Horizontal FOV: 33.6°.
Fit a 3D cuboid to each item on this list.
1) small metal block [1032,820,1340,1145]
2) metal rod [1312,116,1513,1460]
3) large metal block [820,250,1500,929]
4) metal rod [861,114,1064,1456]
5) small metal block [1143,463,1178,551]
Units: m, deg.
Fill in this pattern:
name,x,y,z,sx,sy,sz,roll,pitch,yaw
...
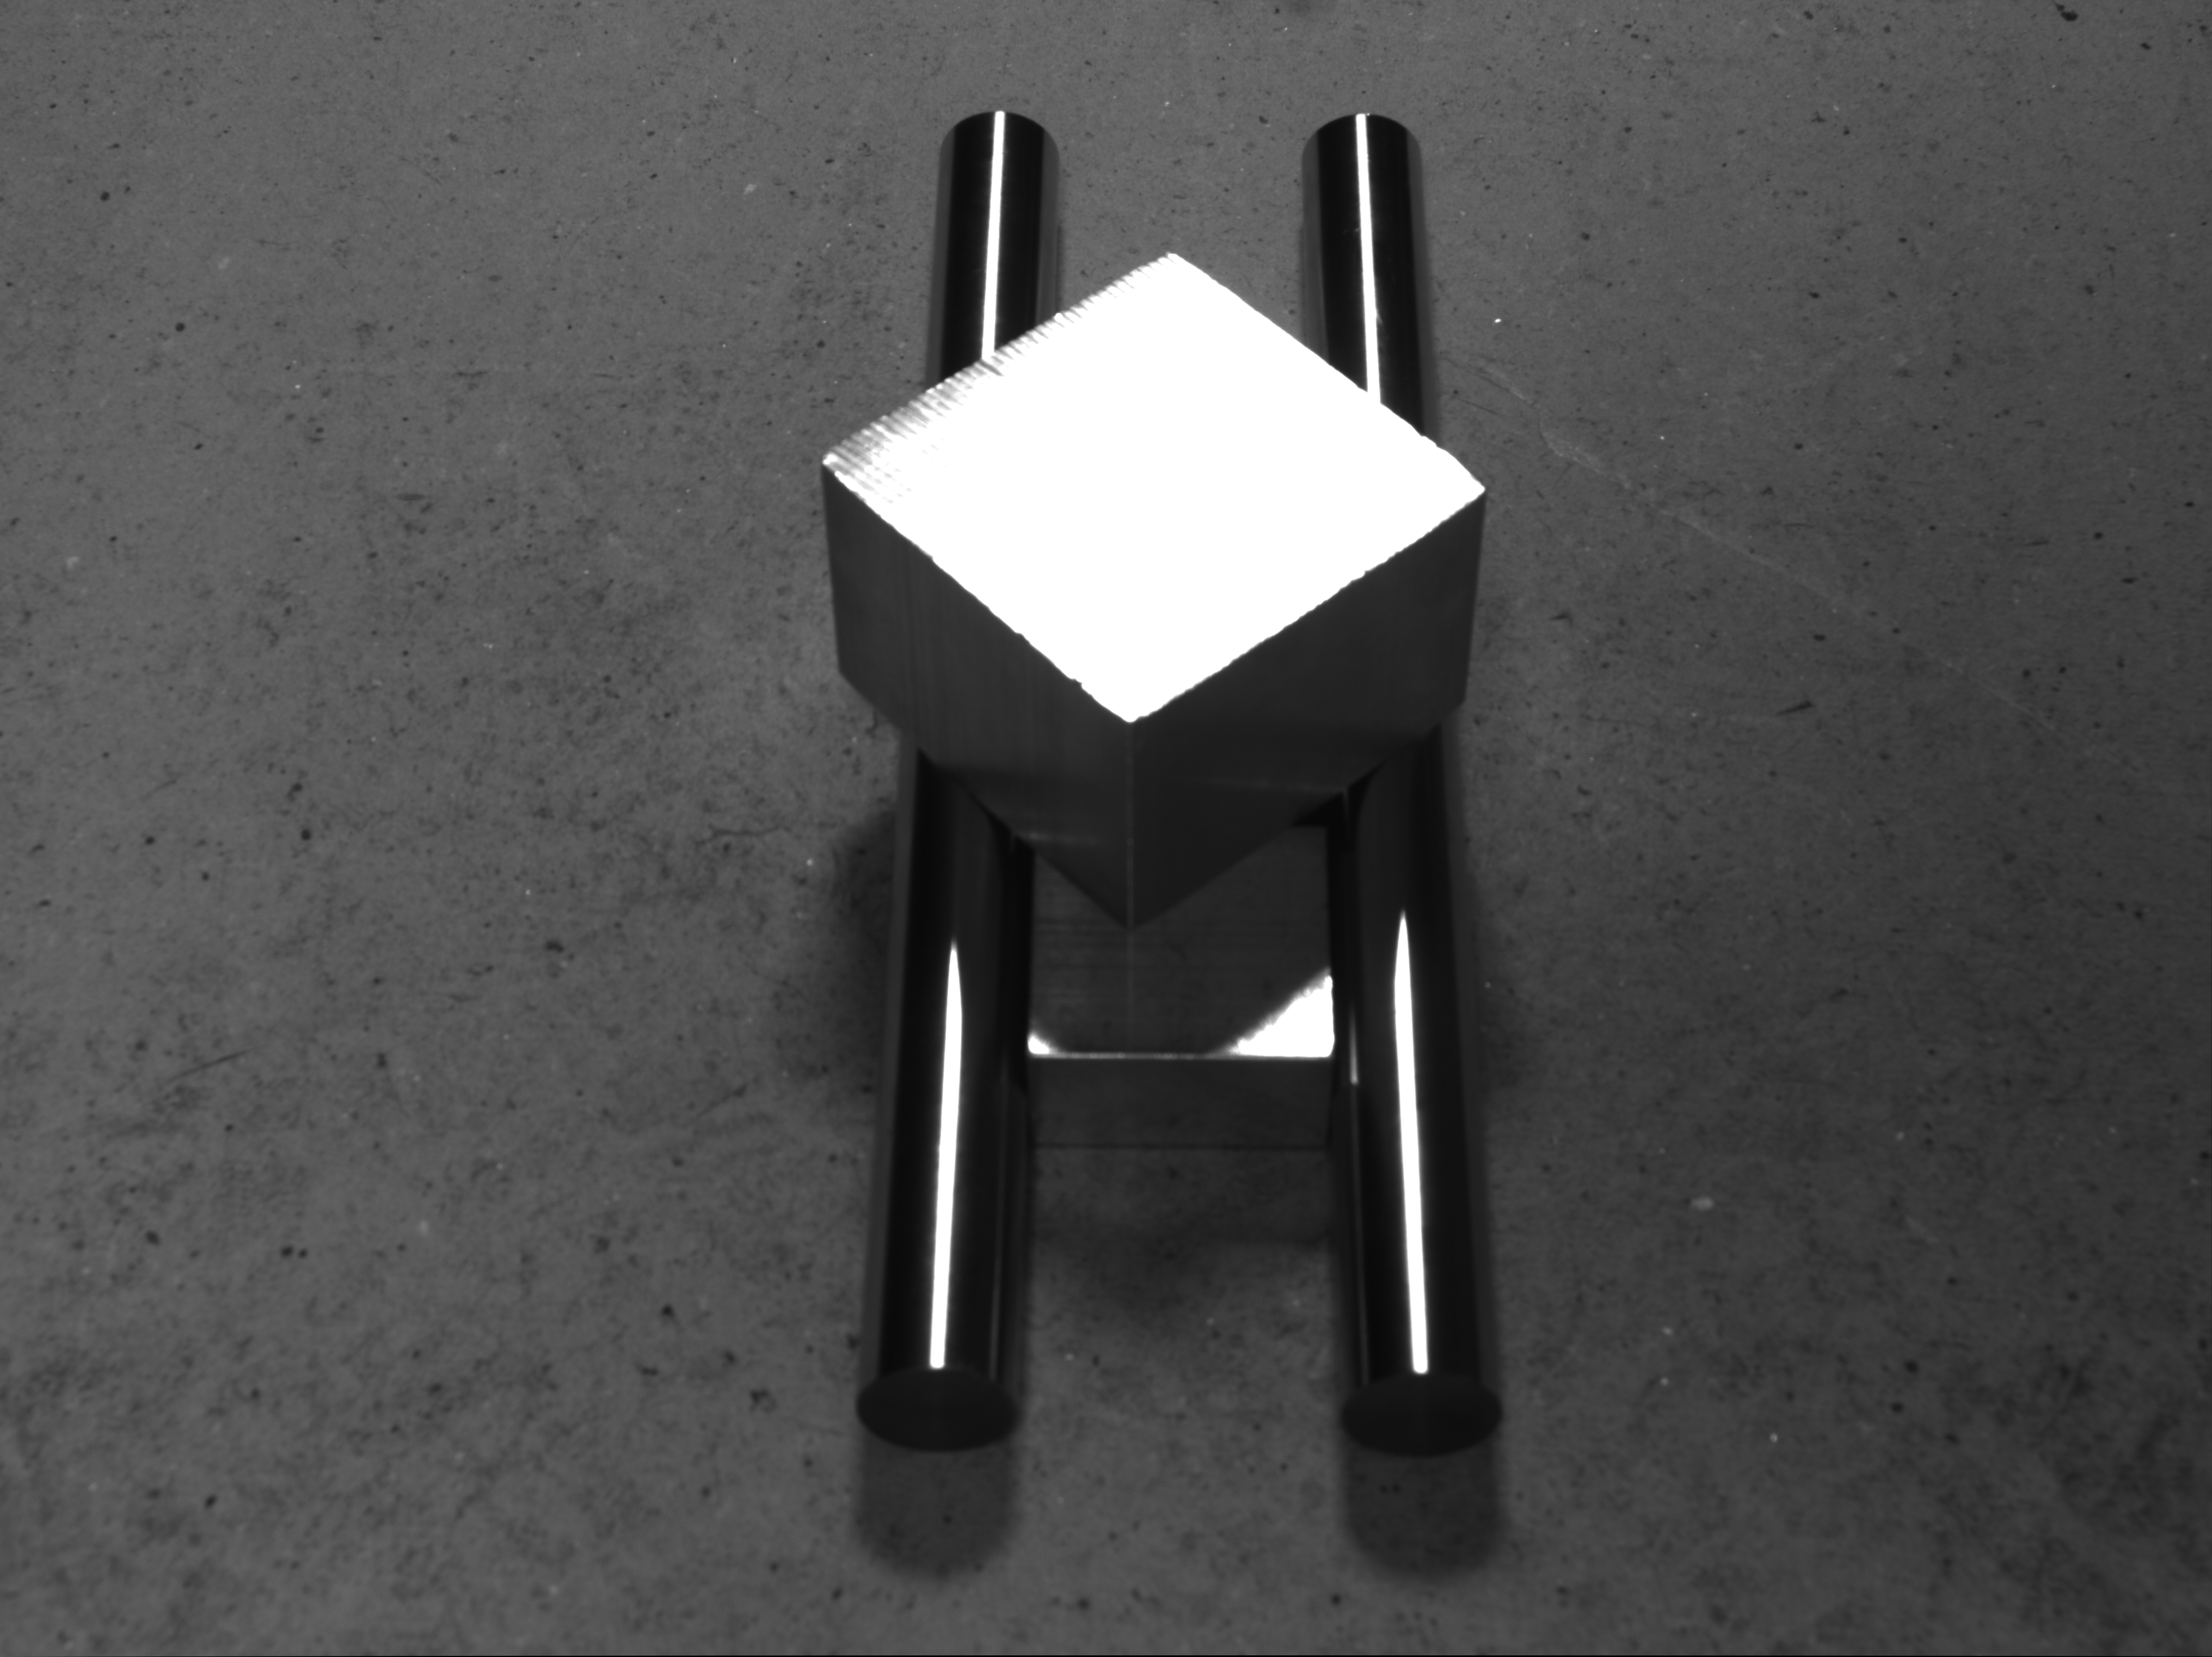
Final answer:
name,x,y,z,sx,sy,sz,roll,pitch,yaw
small metal block,0.013,0.025,0.619,0.050,0.025,0.050,1,50,1
metal rod,0.053,-0.023,0.663,0.025,0.025,0.300,1,50,1
large metal block,0.009,-0.043,0.627,0.080,0.050,0.080,-33,57,-25
metal rod,-0.023,-0.024,0.663,0.025,0.025,0.300,1,50,1
small metal block,0.015,-0.063,0.694,0.050,0.025,0.050,1,50,1
